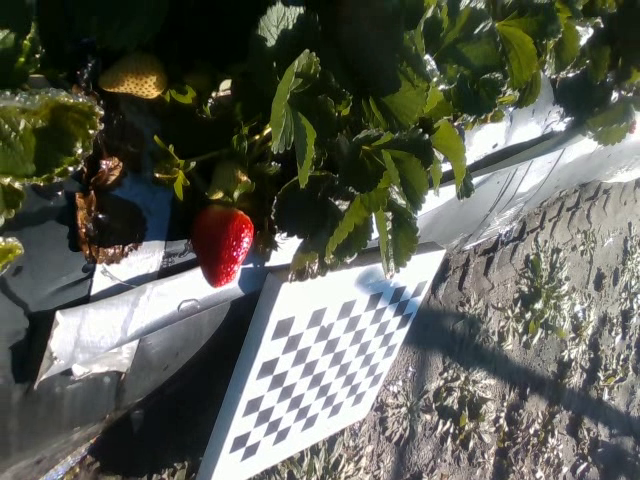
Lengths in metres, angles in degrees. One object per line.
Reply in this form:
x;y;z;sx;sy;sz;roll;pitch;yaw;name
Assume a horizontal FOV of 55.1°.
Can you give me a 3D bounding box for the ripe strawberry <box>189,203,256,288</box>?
-0.076;0.010;0.488;0.057;0.065;0.062;-10;-25;18;ripe strawberry
